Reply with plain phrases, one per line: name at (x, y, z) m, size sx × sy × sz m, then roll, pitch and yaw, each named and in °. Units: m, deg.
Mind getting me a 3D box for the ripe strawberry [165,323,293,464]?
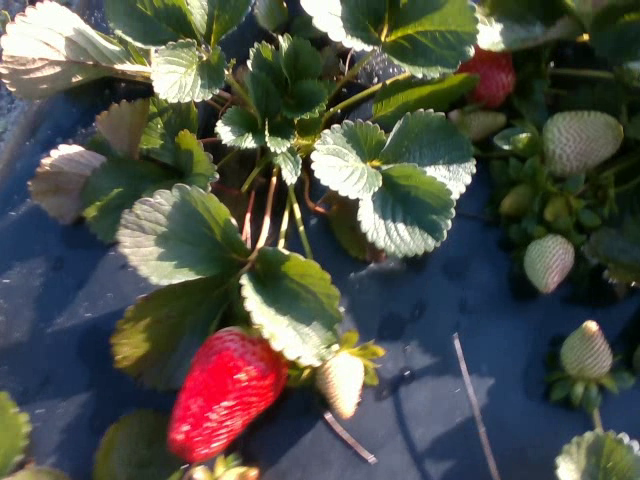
ripe strawberry at (-0.047, 0.076, 0.322) m, size 0.055 × 0.072 × 0.056 m, roll 39°, pitch -35°, yaw -28°
